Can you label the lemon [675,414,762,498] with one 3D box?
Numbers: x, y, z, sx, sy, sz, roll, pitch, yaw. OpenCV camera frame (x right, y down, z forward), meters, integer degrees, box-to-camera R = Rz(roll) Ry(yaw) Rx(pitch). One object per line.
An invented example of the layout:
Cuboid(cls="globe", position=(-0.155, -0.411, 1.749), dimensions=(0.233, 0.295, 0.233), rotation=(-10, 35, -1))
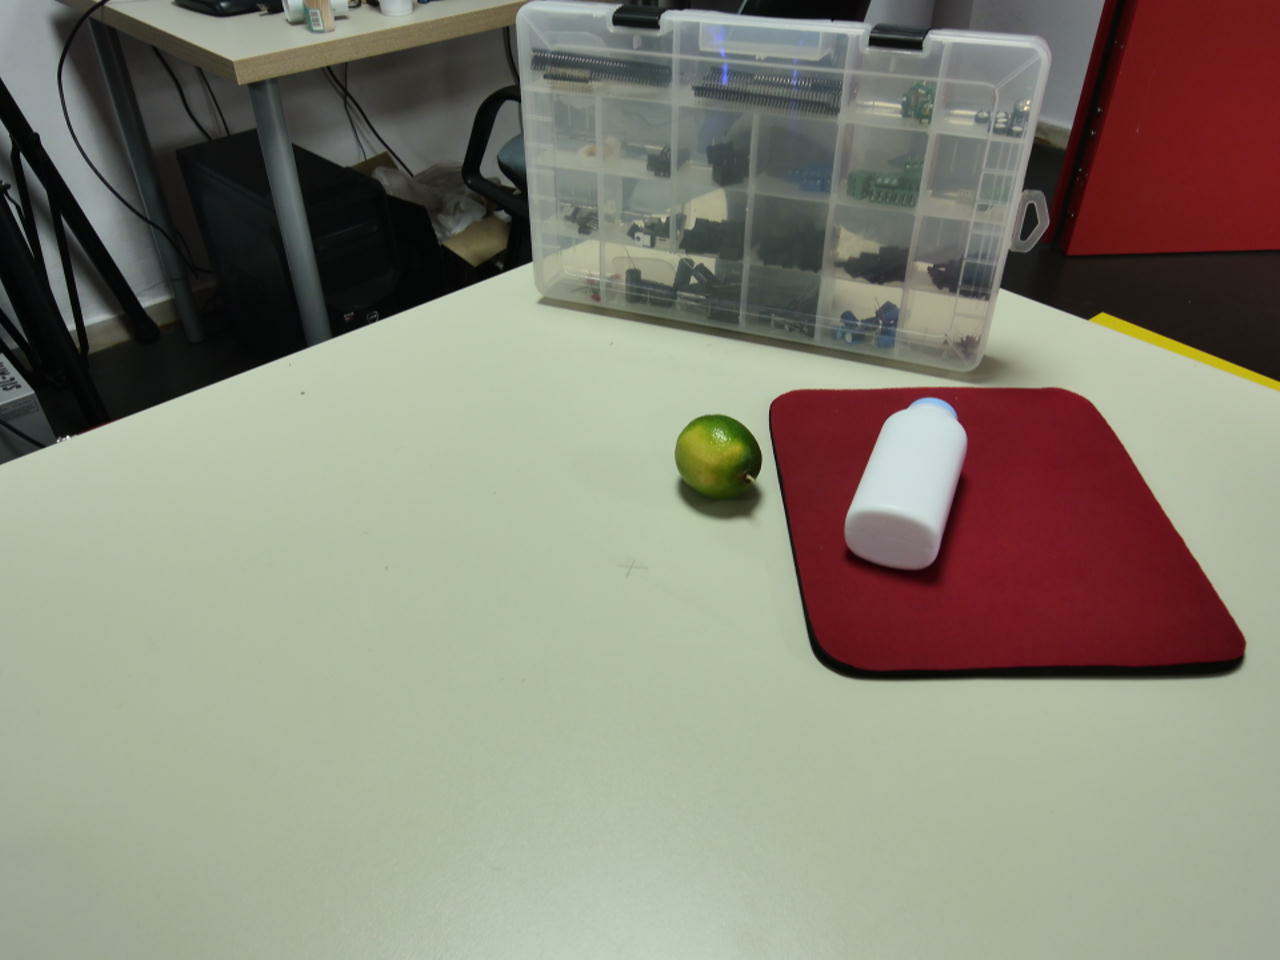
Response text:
Cuboid(cls="lemon", position=(0.048, -0.015, 0.623), dimensions=(0.054, 0.050, 0.055), rotation=(6, 37, 7))
